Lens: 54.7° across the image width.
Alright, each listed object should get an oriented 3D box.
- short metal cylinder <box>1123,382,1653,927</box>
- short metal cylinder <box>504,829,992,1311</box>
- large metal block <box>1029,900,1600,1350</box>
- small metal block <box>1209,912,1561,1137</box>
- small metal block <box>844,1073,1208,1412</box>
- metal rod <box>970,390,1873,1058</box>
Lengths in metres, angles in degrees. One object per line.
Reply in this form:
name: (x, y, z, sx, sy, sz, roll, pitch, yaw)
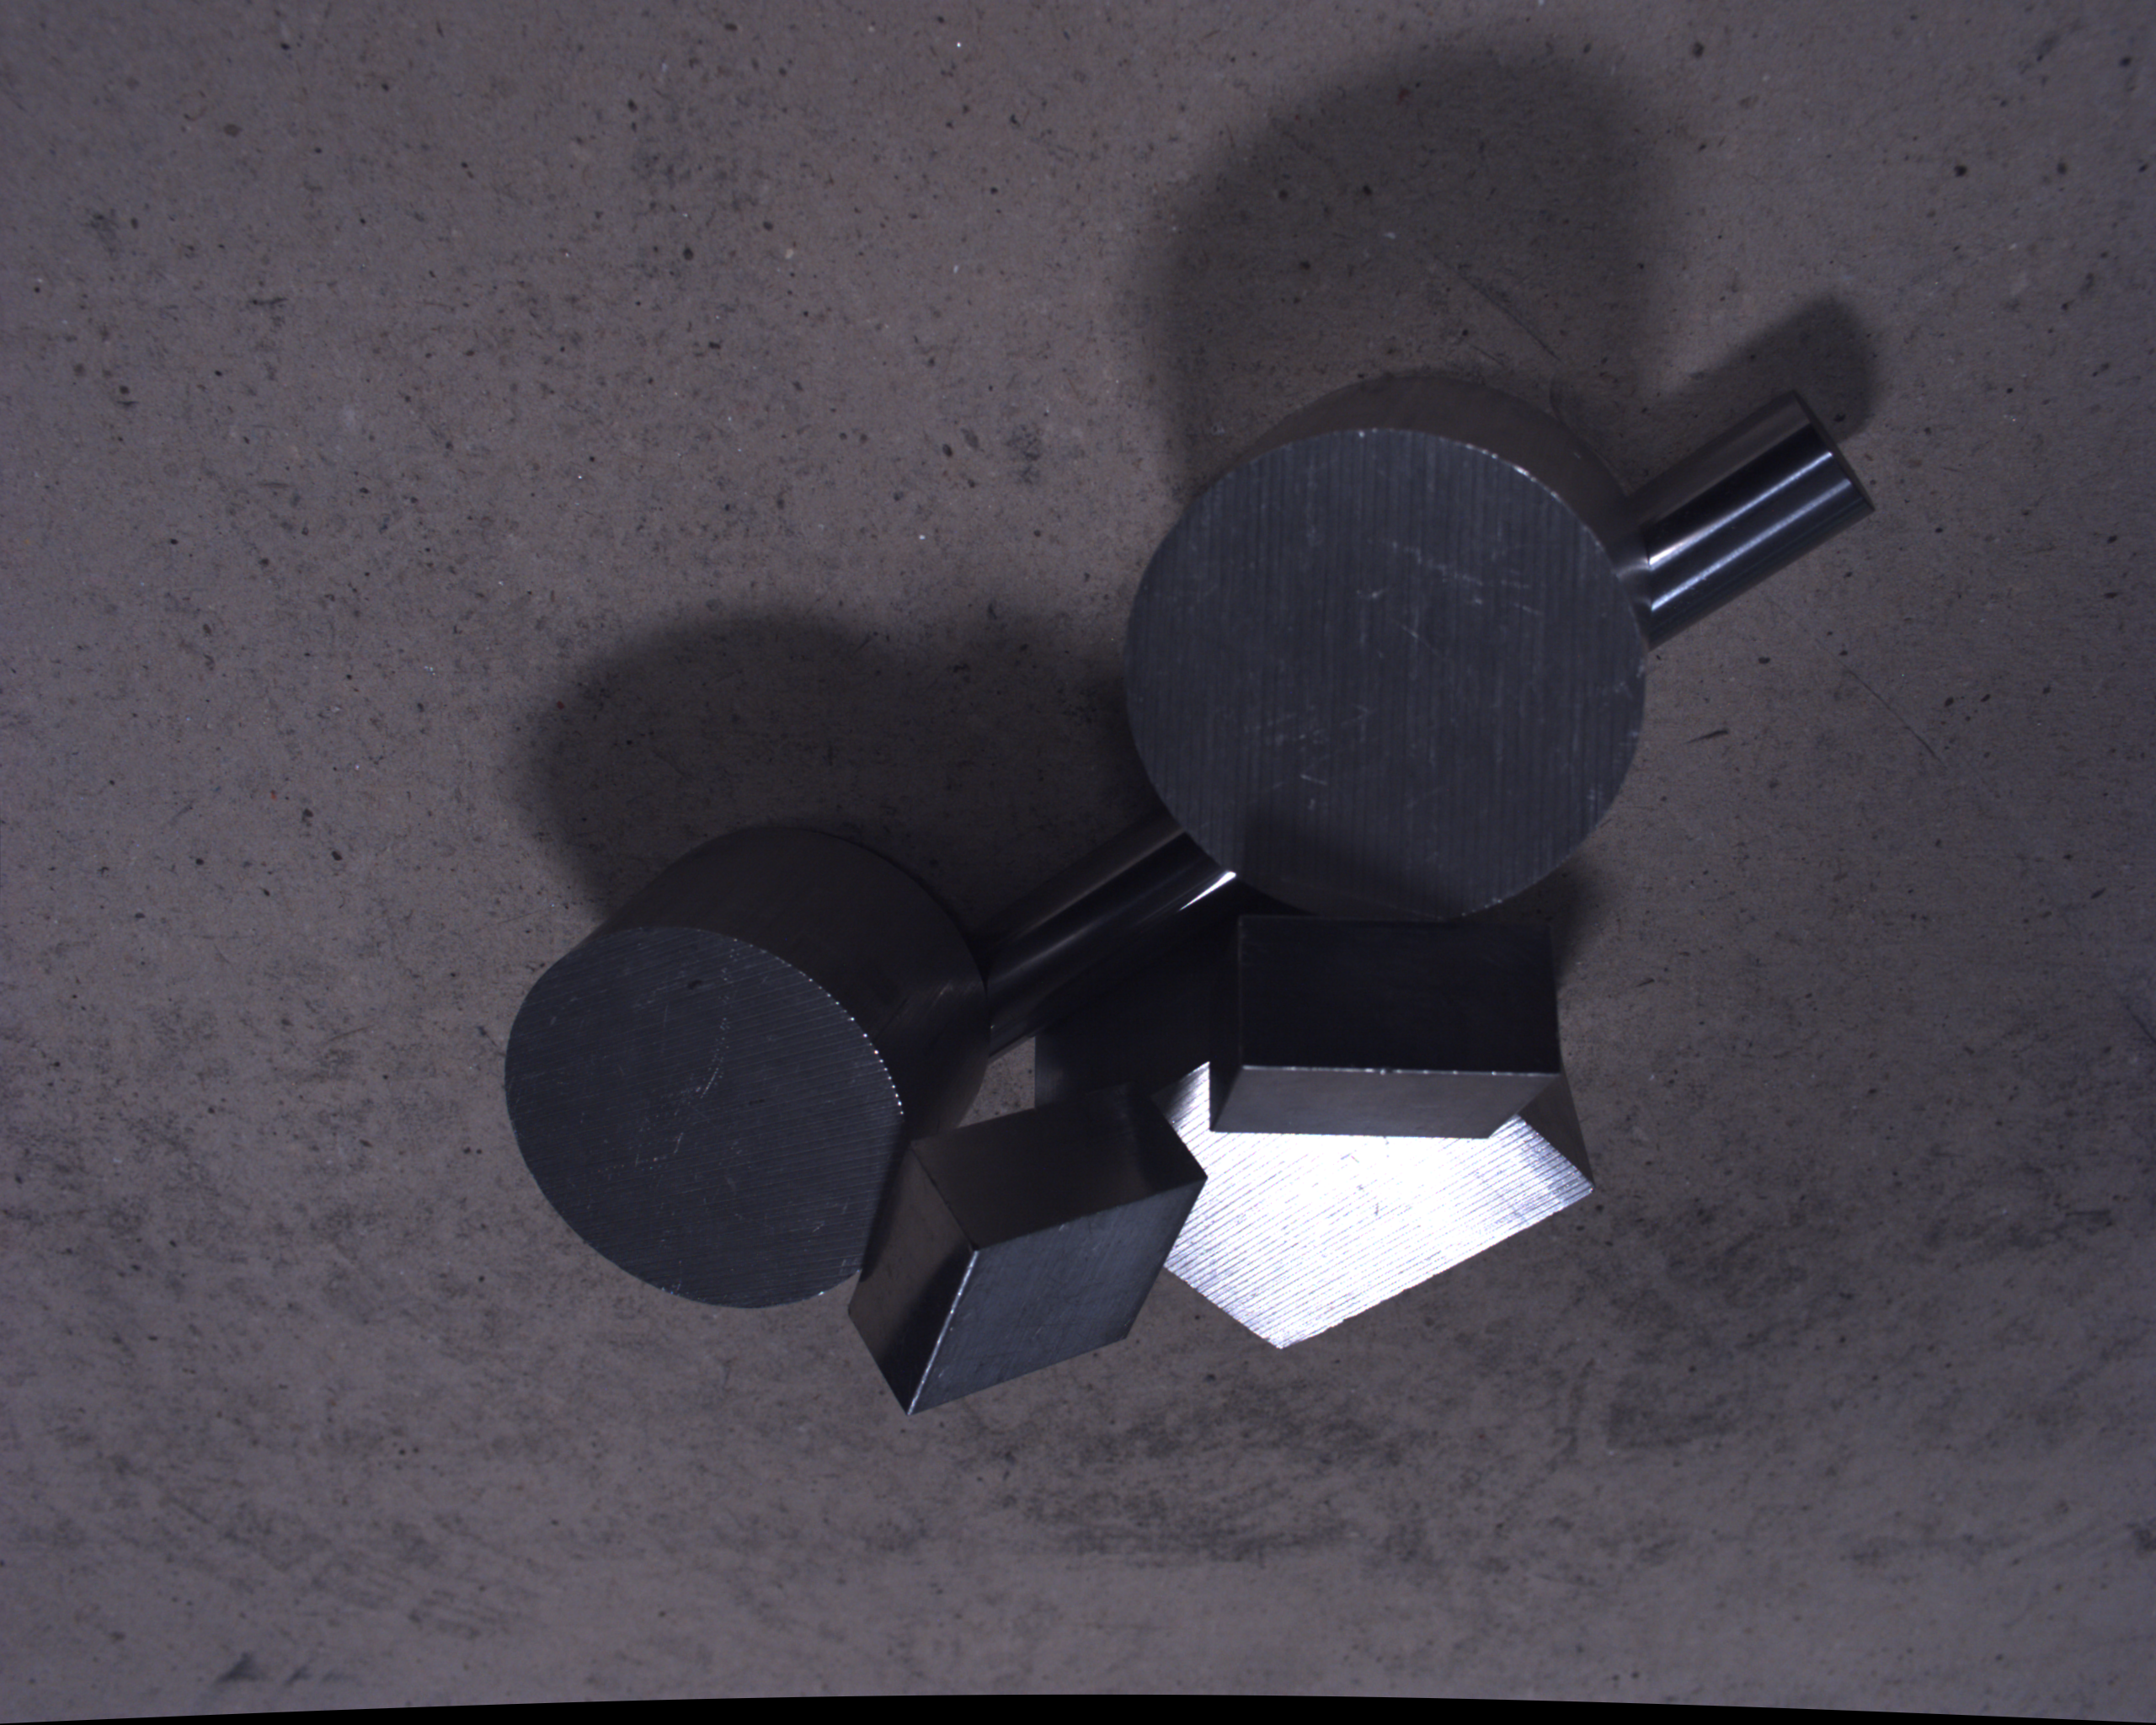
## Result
short metal cylinder: (0.053, -0.036, 0.343, 0.080, 0.050, 0.079, 6, 112, 14)
short metal cylinder: (-0.063, 0.039, 0.407, 0.080, 0.050, 0.079, 6, 112, 14)
large metal block: (0.047, 0.046, 0.430, 0.080, 0.050, 0.080, -34, 123, 25)
small metal block: (0.049, 0.028, 0.352, 0.050, 0.025, 0.050, 2, 161, -2)
small metal block: (-0.010, 0.070, 0.387, 0.050, 0.025, 0.050, -12, 139, -34)
metal rod: (0.014, 0.006, 0.413, 0.299, 0.025, 0.025, -34, 123, 25)
